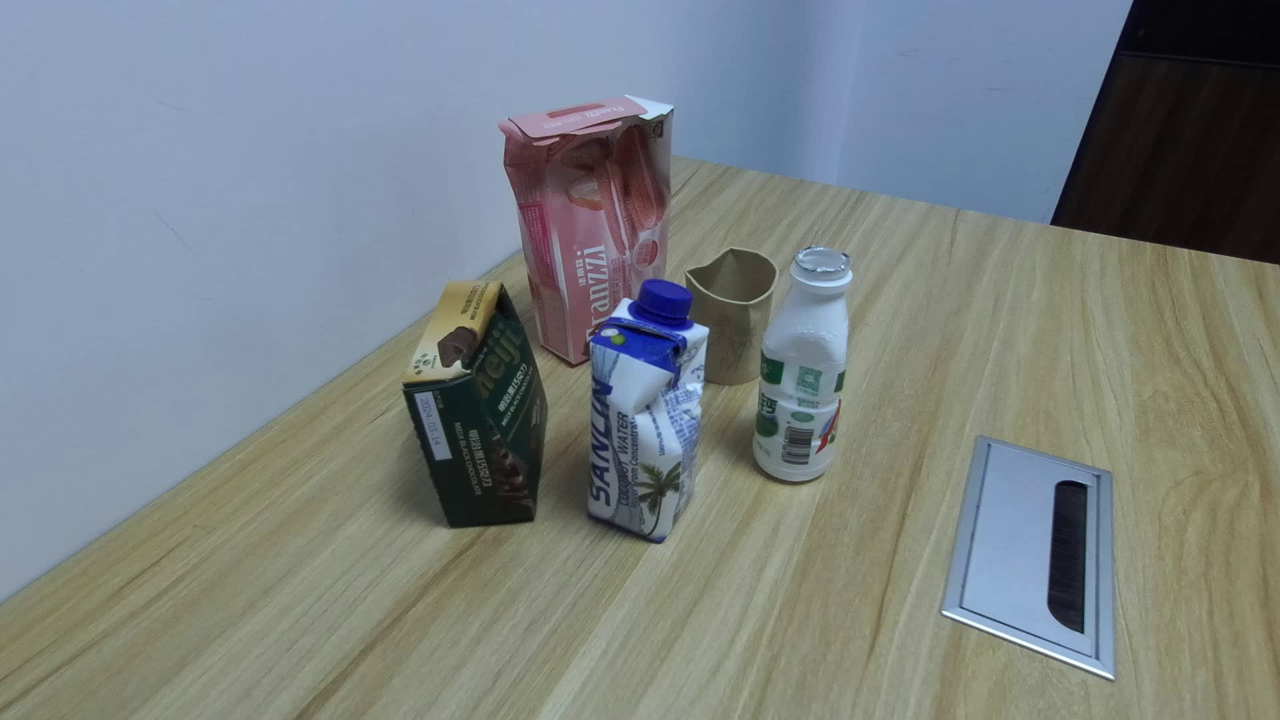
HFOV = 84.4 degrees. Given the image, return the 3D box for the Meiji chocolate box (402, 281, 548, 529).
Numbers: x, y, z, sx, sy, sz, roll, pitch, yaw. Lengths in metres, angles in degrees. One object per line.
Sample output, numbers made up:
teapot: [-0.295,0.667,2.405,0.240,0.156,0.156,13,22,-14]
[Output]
Meiji chocolate box: [-0.095,0.025,0.437,0.058,0.111,0.113,-8,33,0]

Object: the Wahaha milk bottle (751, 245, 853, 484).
Wahaha milk bottle: [0.098,0.004,0.423,0.055,0.149,0.055,-1,36,1]

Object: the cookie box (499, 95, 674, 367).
cookie box: [-0.034,-0.092,0.530,0.119,0.184,0.055,-23,40,-29]

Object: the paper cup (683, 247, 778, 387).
paper cup: [0.078,-0.056,0.581,0.071,0.066,0.084,-38,6,3]

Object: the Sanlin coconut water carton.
Sanlin coconut water carton: [0.004,0.030,0.393,0.060,0.144,0.070,17,37,23]
